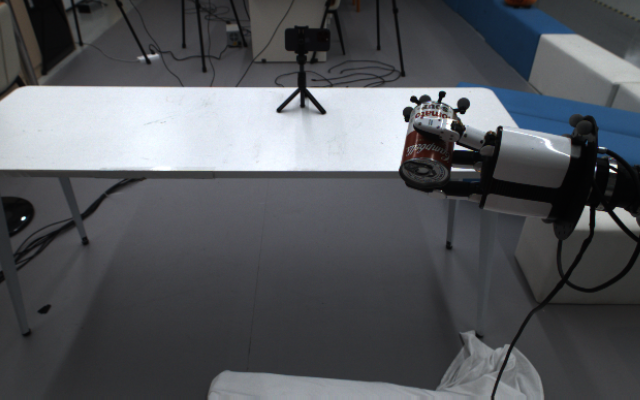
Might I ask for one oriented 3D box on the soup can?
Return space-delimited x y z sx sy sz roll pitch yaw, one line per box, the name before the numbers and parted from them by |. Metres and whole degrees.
soup can | 0.150 -0.078 0.663 0.067 0.067 0.101 9 60 10
